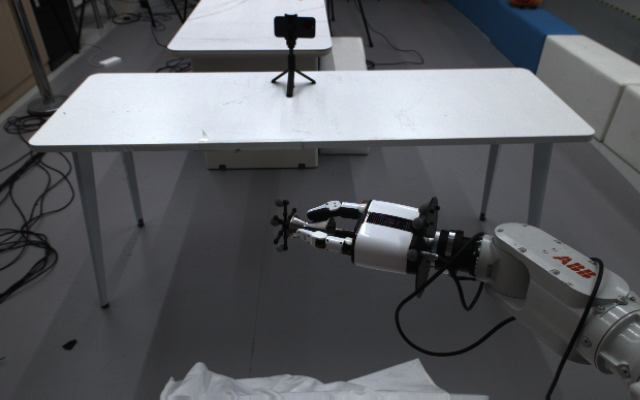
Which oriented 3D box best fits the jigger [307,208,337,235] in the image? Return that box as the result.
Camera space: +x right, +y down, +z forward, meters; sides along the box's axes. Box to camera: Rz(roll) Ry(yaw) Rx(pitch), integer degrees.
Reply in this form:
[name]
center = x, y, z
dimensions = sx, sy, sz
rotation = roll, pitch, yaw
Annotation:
[jigger]
center = -0.007, 0.045, 0.815
dimensions = 0.071, 0.043, 0.043
rotation = 4, 33, 22
